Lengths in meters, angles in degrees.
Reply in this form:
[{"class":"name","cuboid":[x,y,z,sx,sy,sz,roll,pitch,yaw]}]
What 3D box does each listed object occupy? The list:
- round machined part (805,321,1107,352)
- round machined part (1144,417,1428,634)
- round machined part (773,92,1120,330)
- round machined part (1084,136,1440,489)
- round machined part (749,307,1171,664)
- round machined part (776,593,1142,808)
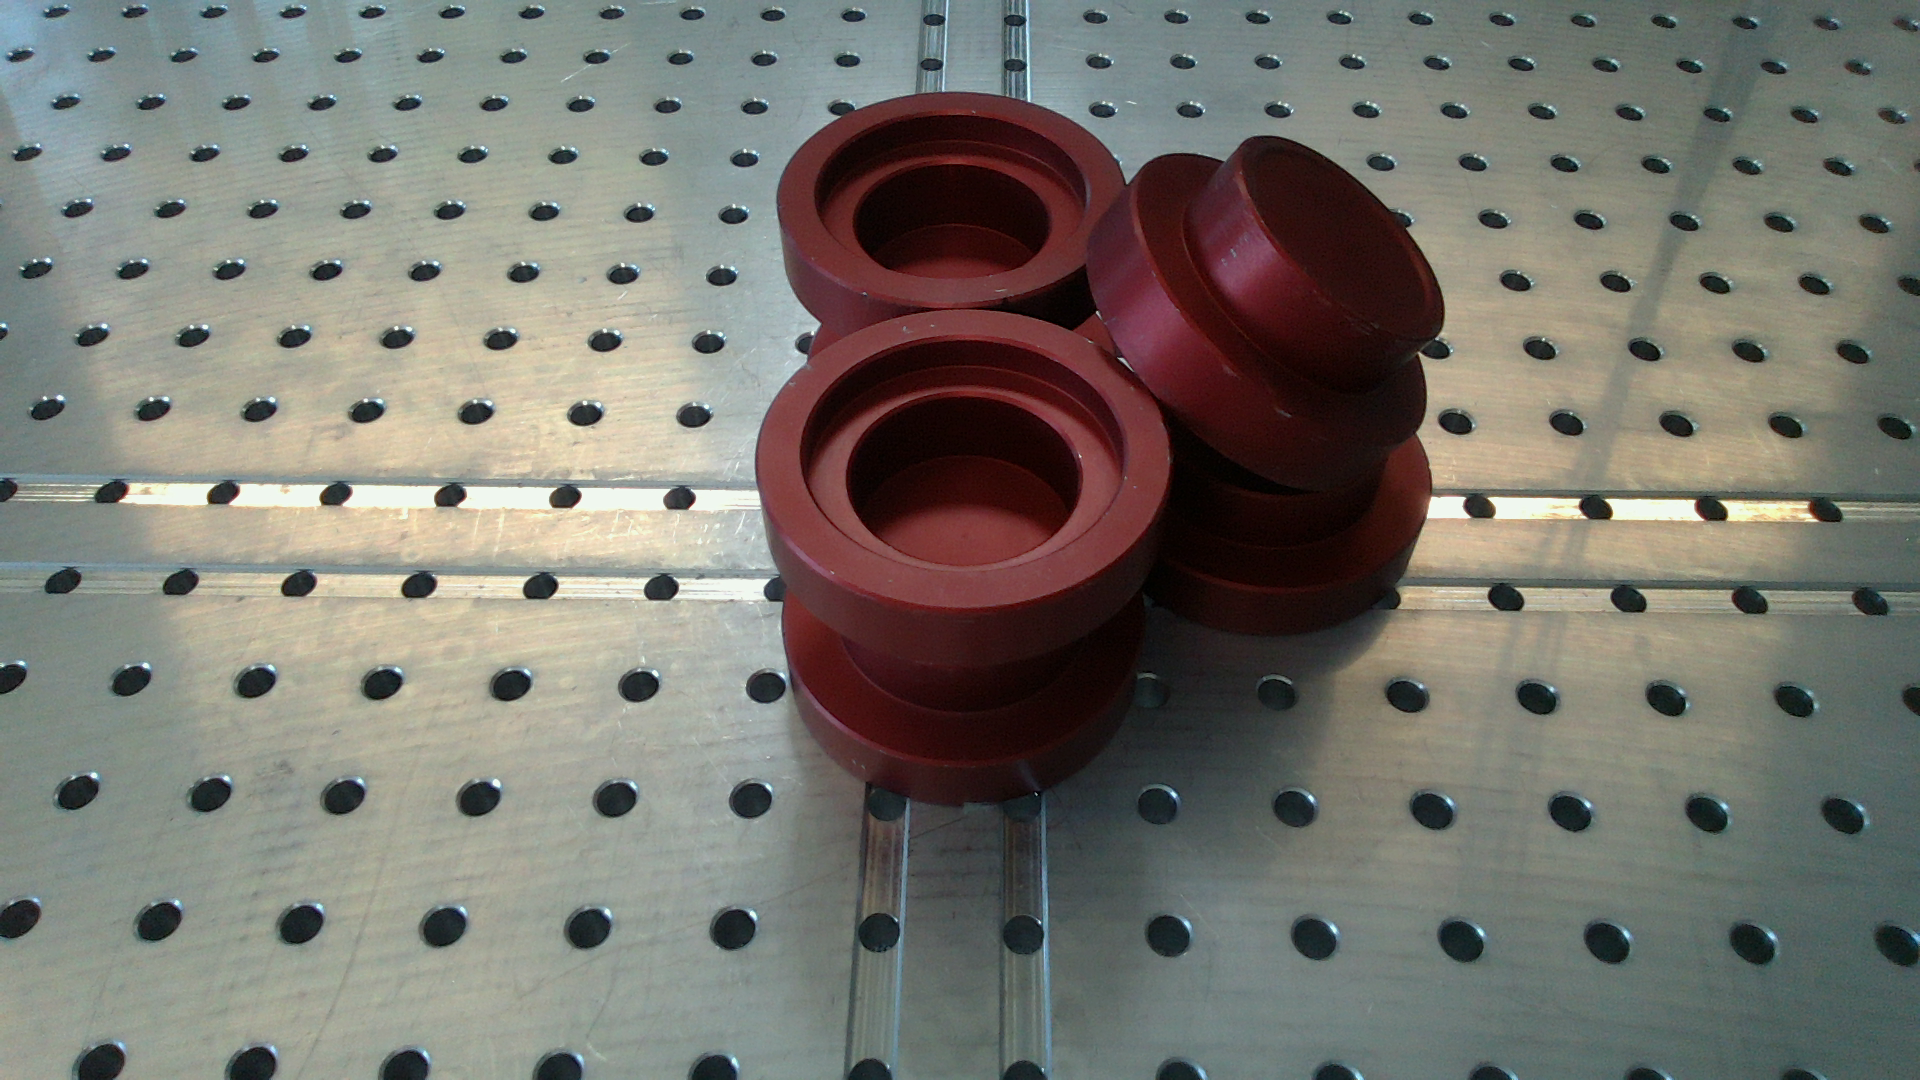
[{"class":"round machined part","cuboid":[-0.001,-0.057,0.433,0.098,0.042,0.098,0,50,0]},{"class":"round machined part","cuboid":[0.088,-0.024,0.404,0.098,0.042,0.098,0,50,0]},{"class":"round machined part","cuboid":[-0.003,-0.085,0.399,0.098,0.042,0.098,0,50,0]},{"class":"round machined part","cuboid":[0.084,-0.065,0.355,0.098,0.042,0.098,22,45,-23]},{"class":"round machined part","cuboid":[0.000,-0.009,0.336,0.098,0.042,0.098,0,50,0]},{"class":"round machined part","cuboid":[0.000,0.018,0.369,0.098,0.042,0.098,0,50,0]}]
